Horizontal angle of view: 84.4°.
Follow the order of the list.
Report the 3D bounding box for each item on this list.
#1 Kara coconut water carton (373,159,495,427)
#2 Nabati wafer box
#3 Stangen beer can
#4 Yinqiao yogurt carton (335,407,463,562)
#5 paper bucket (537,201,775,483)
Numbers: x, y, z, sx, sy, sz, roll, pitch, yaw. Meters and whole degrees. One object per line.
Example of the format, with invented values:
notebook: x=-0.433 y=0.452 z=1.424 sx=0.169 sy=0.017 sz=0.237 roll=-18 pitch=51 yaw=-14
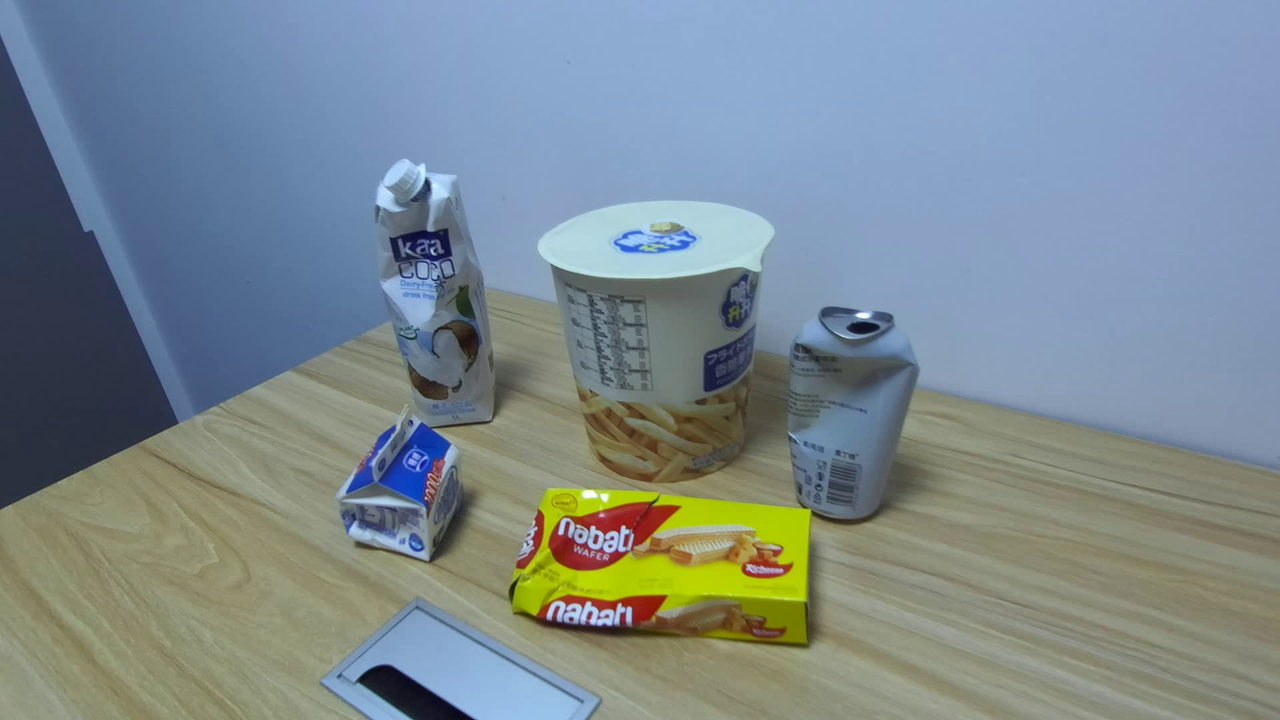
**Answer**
Kara coconut water carton: x=-0.191 y=-0.061 z=0.657 sx=0.083 sy=0.256 sz=0.078 roll=2 pitch=31 yaw=8
Nabati wafer box: x=0.014 y=0.141 z=0.491 sx=0.204 sy=0.042 sz=0.107 roll=2 pitch=27 yaw=13
Stangen beer can: x=0.155 y=0.041 z=0.528 sx=0.077 sy=0.162 sz=0.065 roll=-11 pitch=30 yaw=-13
Yinqiao yogurt carton: x=-0.188 y=0.092 z=0.545 sx=0.080 sy=0.097 sz=0.074 roll=6 pitch=30 yaw=4
paper bucket: x=0.019 y=-0.018 z=0.615 sx=0.198 sy=0.195 sz=0.198 roll=-3 pitch=29 yaw=2
